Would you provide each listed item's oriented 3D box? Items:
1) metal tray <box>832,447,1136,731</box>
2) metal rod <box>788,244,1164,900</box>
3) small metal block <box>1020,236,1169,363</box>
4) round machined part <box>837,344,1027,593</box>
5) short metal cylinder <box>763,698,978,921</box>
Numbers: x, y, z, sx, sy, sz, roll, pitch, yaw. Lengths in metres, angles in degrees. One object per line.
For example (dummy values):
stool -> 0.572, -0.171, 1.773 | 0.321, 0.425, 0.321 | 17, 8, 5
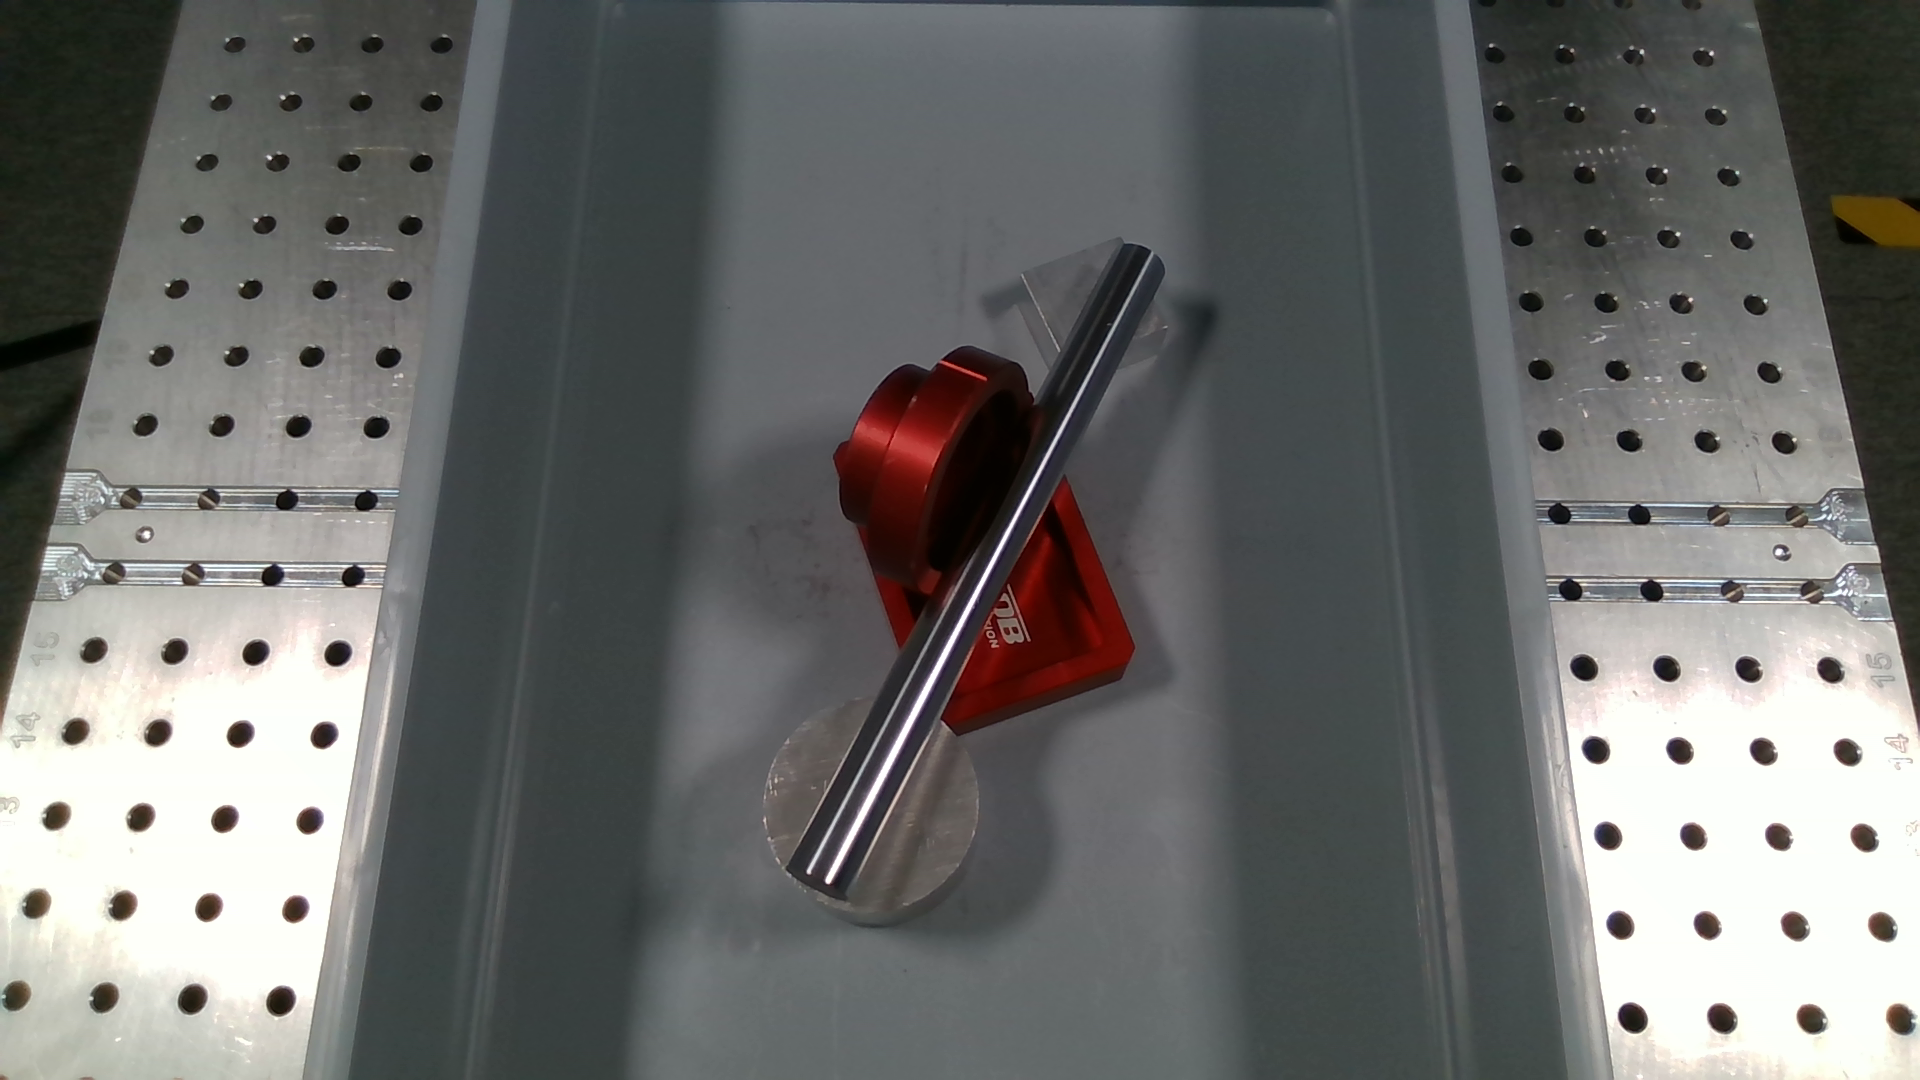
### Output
metal tray -> 0.009, 0.009, 0.581 | 0.090, 0.030, 0.130 | -18, 71, -6
metal rod -> 0.014, 0.000, 0.543 | 0.025, 0.025, 0.299 | 24, 66, 8
small metal block -> 0.059, -0.103, 0.624 | 0.050, 0.025, 0.050 | -21, 72, -7
round machined part -> -0.013, -0.032, 0.546 | 0.042, 0.098, 0.098 | 24, 72, 16
short metal cylinder -> -0.033, 0.106, 0.536 | 0.080, 0.050, 0.080 | 0, 70, 0
